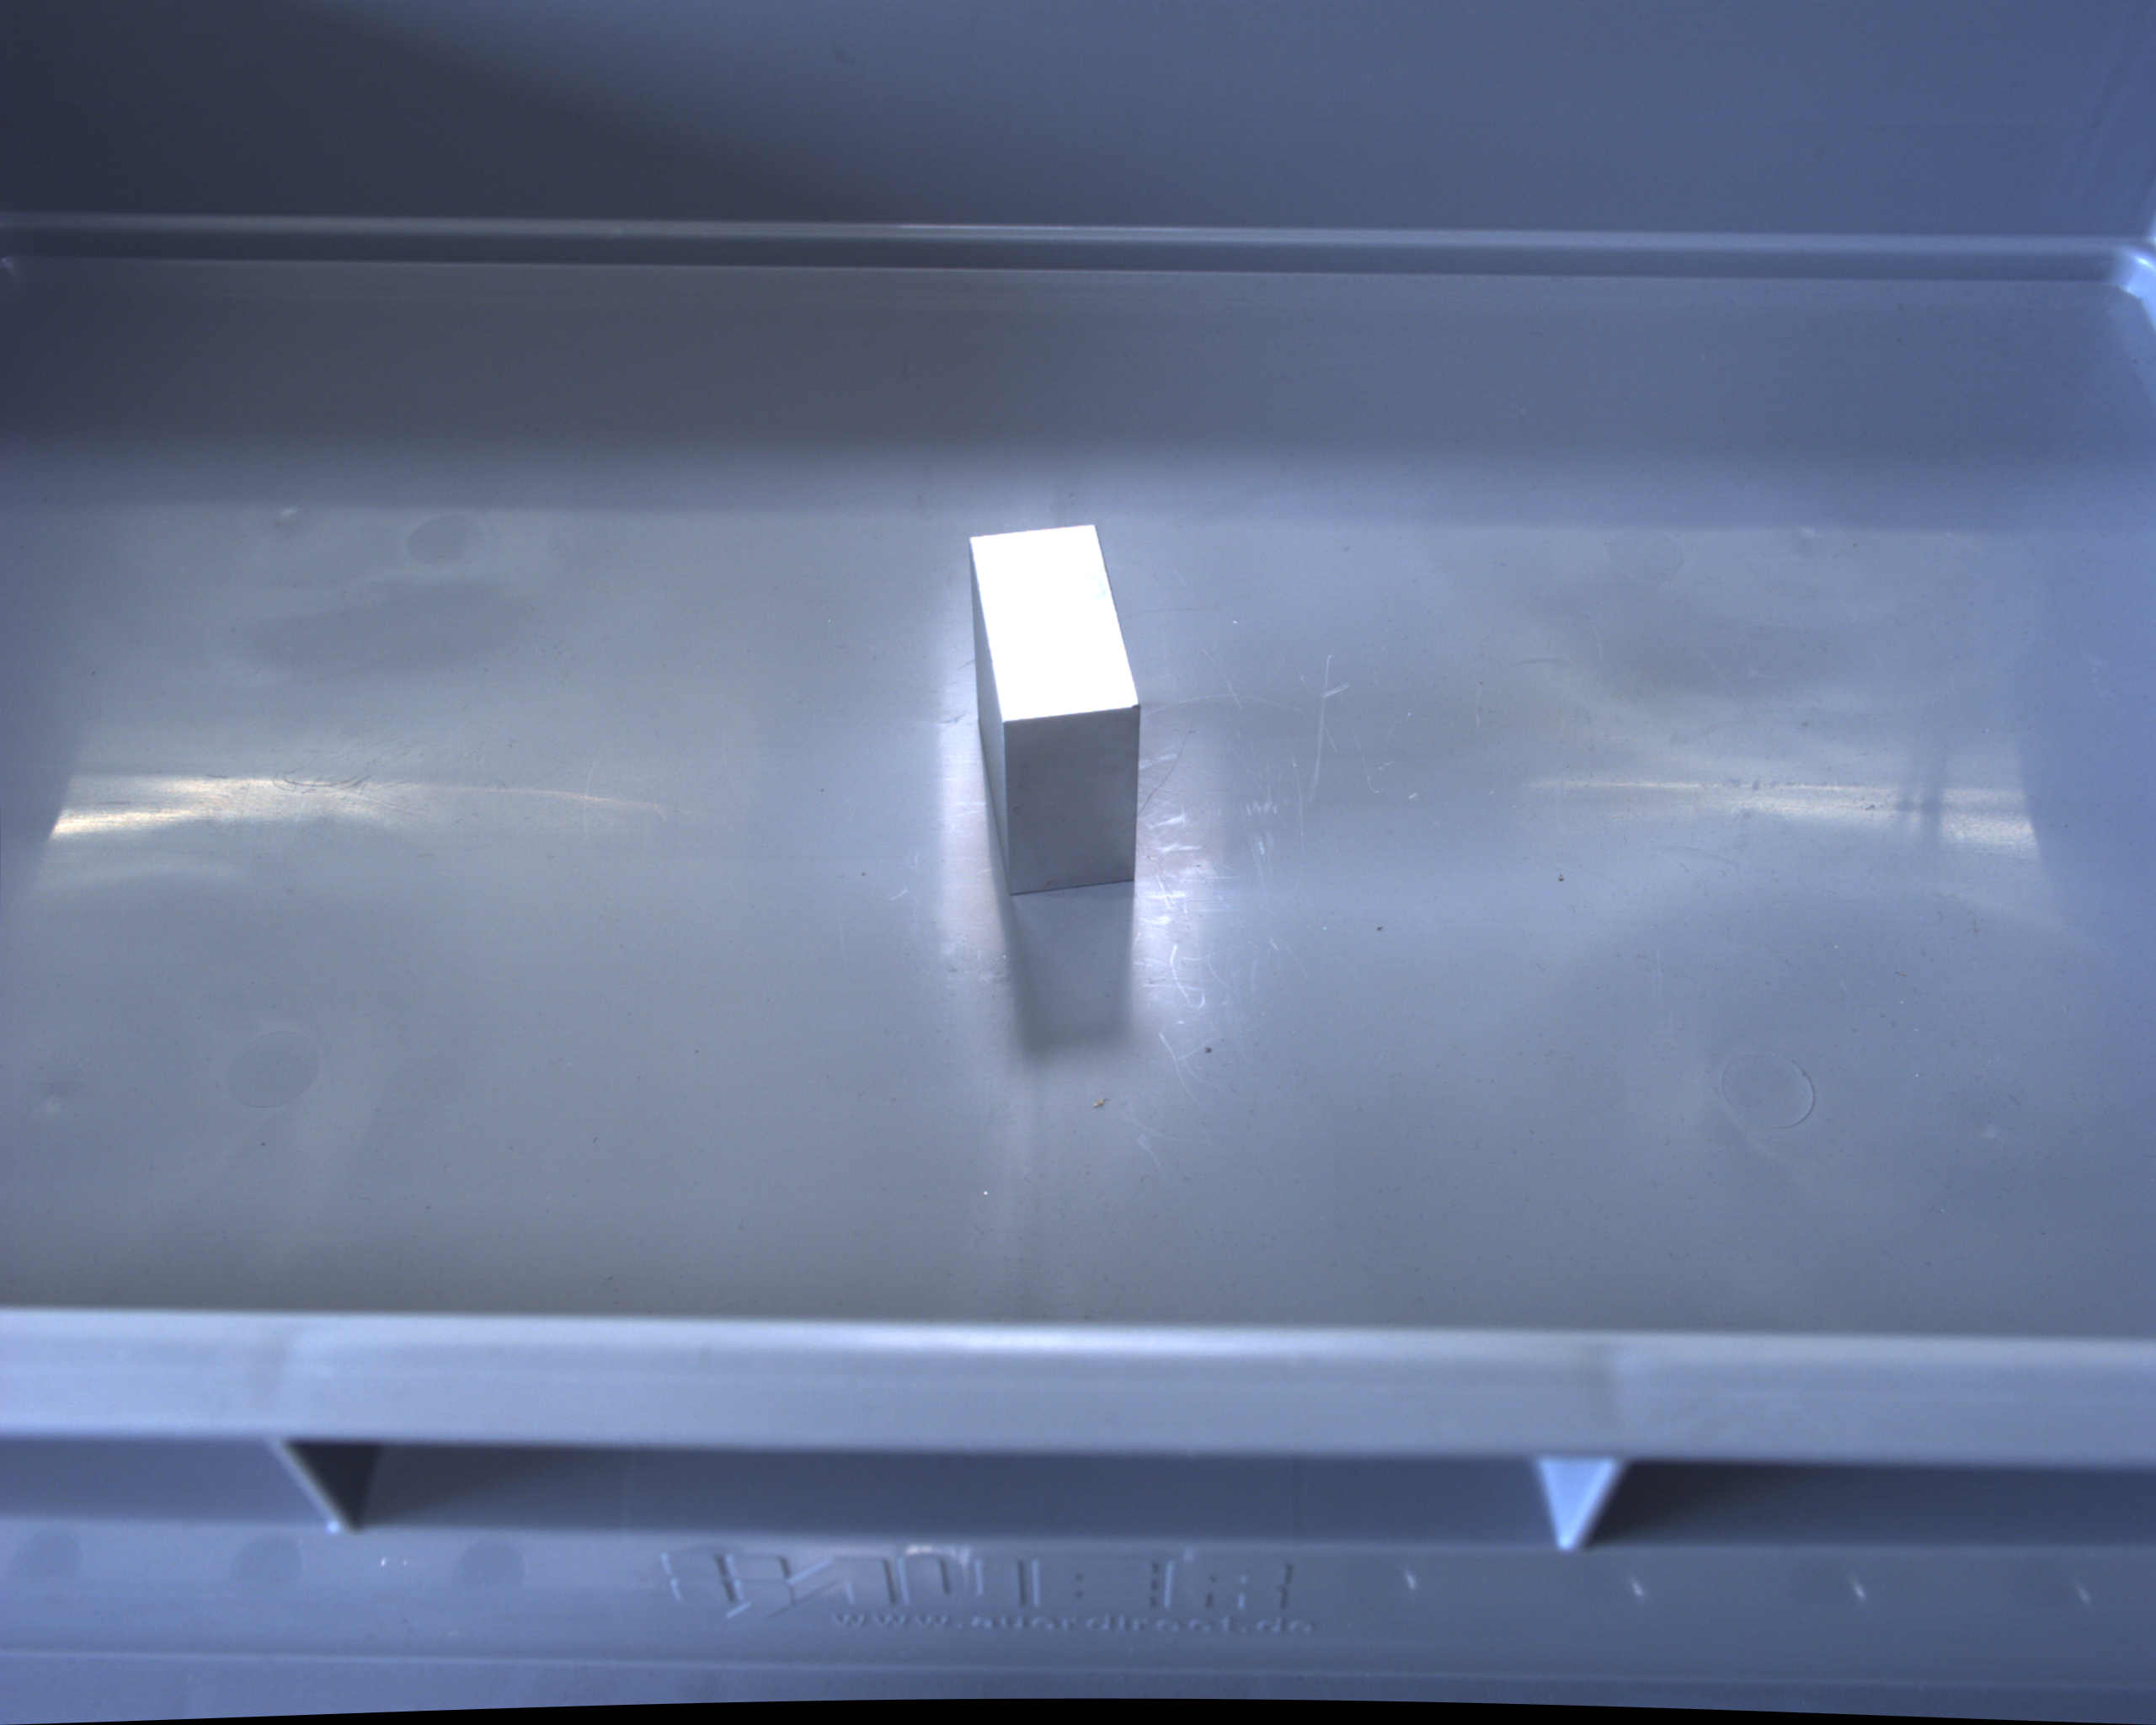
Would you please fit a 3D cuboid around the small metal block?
[{"bbox_3d":[-0.005,-0.030,0.409,0.025,0.050,0.050,-7,50,-5],"label":"small metal block"}]
